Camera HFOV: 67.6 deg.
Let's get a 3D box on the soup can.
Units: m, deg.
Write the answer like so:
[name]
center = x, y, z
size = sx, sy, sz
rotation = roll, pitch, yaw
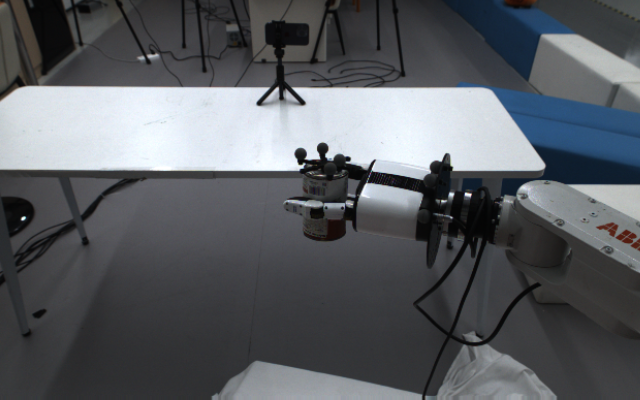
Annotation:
[soup can]
center = 0.008, 0.001, 0.710
size = 0.067, 0.101, 0.067
rotation = 1, 26, 0
